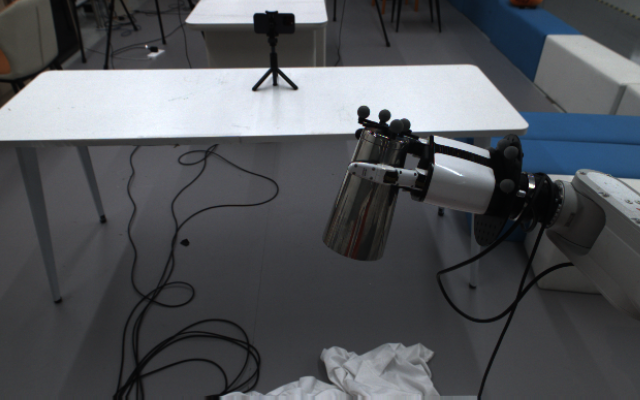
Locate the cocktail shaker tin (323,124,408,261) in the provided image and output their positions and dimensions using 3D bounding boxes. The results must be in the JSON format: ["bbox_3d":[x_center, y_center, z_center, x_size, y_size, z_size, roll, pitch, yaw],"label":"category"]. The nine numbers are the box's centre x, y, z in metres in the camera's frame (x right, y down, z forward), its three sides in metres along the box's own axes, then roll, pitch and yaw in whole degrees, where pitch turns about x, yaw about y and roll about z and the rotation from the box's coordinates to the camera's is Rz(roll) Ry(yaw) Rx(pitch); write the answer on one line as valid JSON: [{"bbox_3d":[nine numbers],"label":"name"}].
[{"bbox_3d":[0.070,-0.014,0.683,0.093,0.170,0.093,14,18,-5],"label":"cocktail shaker tin"}]
